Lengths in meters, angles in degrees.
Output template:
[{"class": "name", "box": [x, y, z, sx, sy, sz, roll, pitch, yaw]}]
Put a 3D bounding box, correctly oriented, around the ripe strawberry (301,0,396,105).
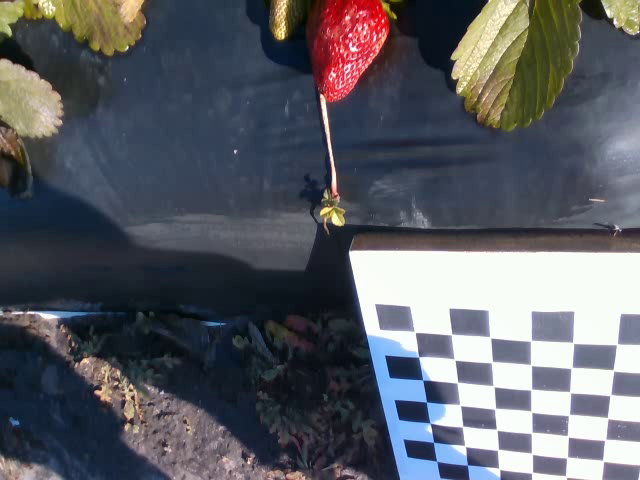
[{"class": "ripe strawberry", "box": [0.011, -0.087, 0.282, 0.041, 0.053, 0.043, 8, -4, 11]}]
